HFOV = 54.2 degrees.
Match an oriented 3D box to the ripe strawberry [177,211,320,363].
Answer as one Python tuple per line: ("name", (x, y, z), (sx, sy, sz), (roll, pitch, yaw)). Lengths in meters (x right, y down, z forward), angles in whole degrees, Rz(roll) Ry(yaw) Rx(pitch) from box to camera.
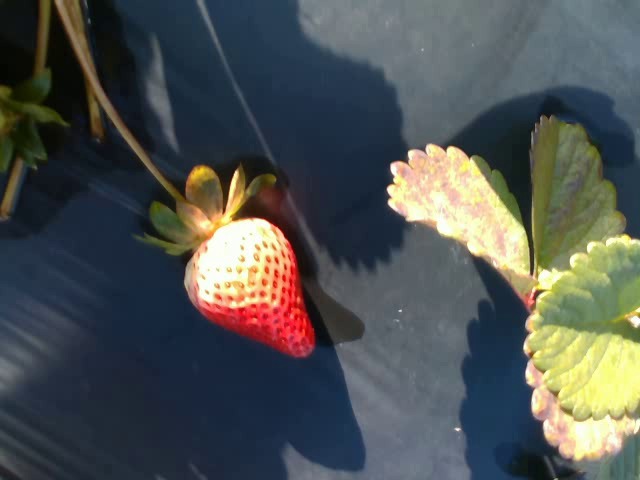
("ripe strawberry", (-0.019, 0.019, 0.195), (0.044, 0.064, 0.045), (-47, 8, -28))
